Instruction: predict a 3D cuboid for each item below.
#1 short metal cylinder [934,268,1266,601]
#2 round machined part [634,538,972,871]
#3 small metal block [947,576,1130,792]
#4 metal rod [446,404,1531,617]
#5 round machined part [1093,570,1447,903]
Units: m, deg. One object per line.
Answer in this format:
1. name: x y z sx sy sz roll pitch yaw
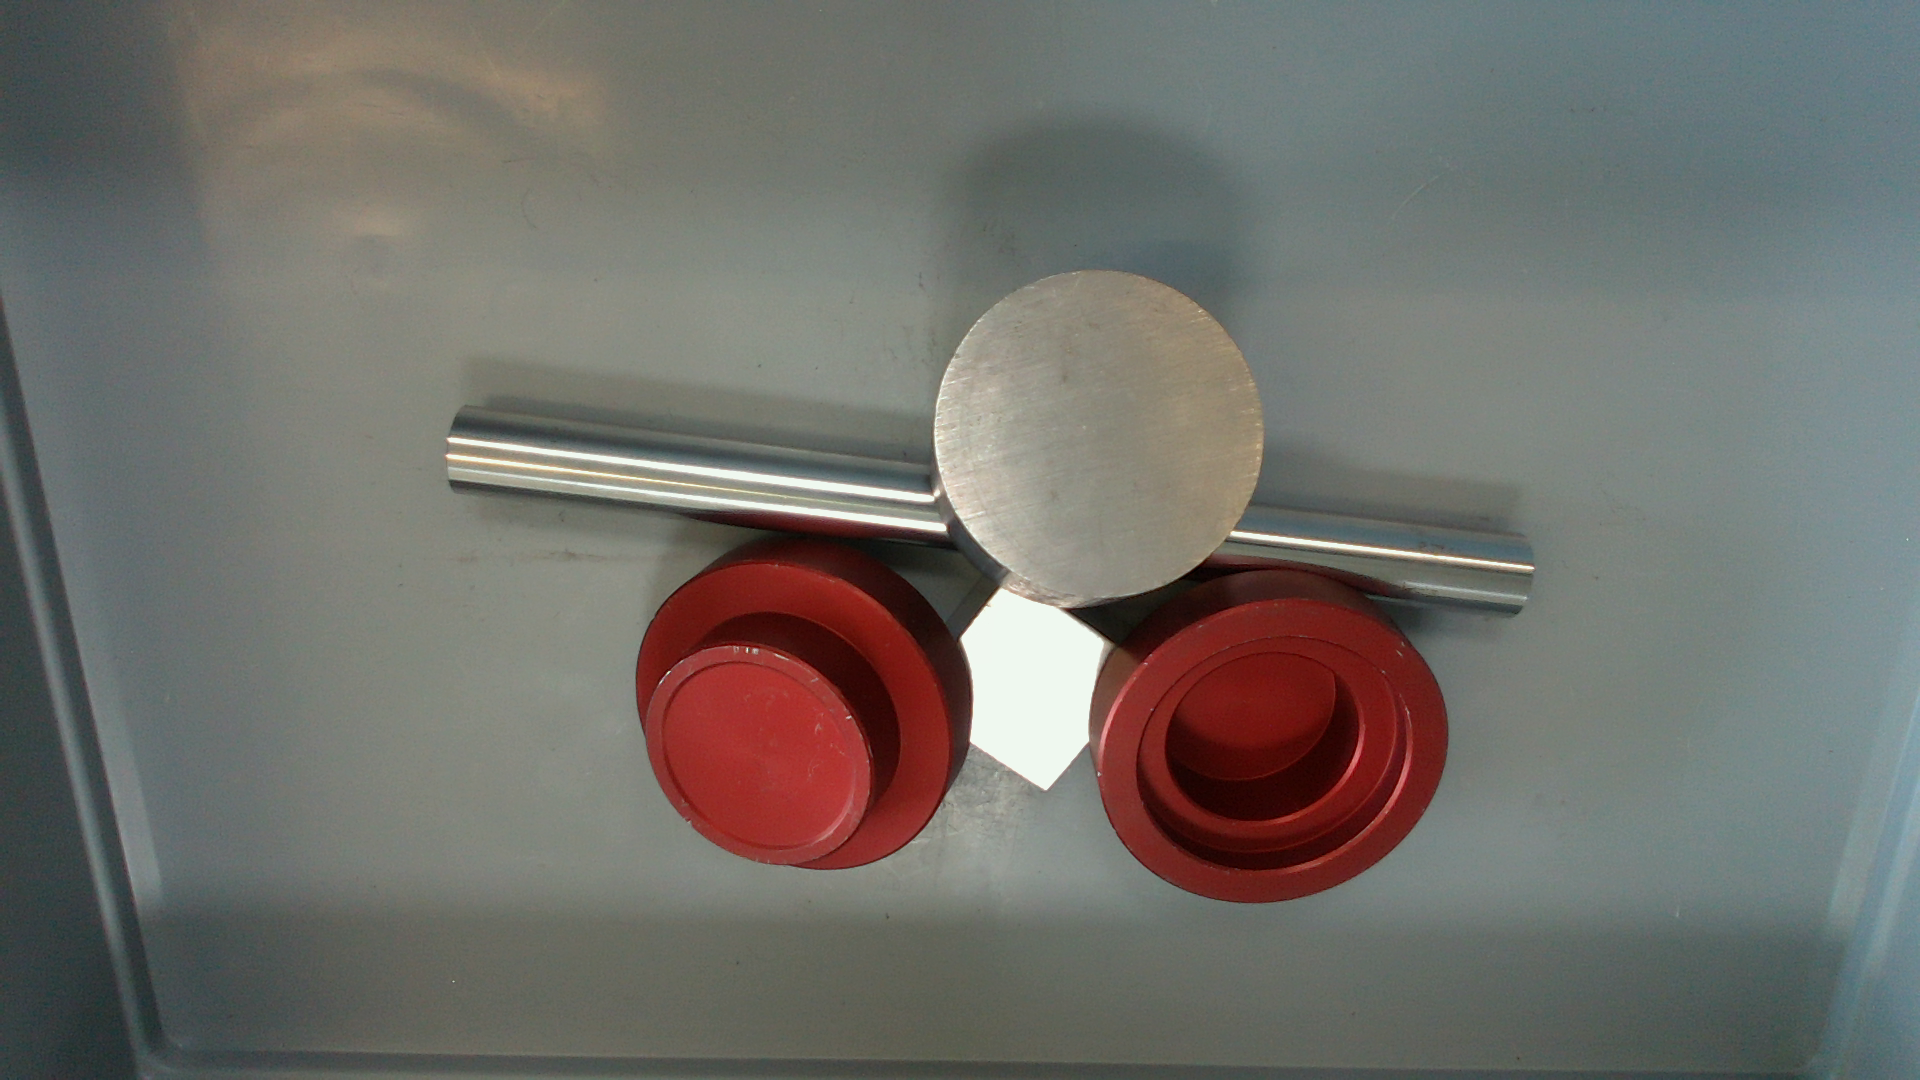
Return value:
1. short metal cylinder: 0.033 -0.024 0.355 0.080 0.050 0.080 0 85 -3
2. round machined part: -0.049 0.052 0.388 0.098 0.042 0.098 7 112 17
3. small metal block: 0.020 0.037 0.406 0.050 0.025 0.050 34 106 -12
4. metal rod: 0.010 -0.008 0.390 0.300 0.025 0.025 7 110 -3
5. round machined part: 0.086 0.053 0.401 0.098 0.042 0.098 -1 113 -3
